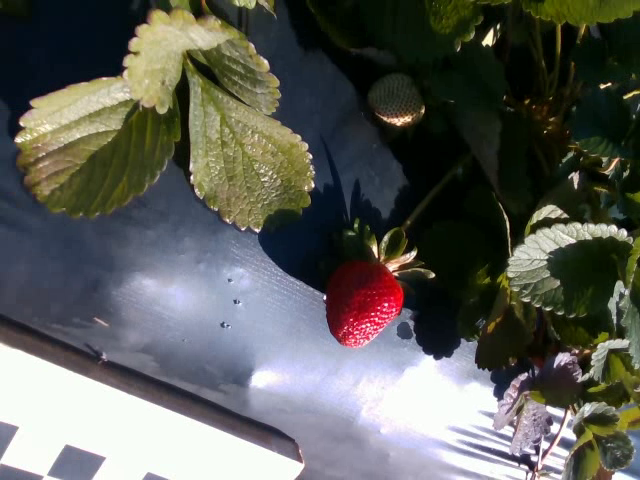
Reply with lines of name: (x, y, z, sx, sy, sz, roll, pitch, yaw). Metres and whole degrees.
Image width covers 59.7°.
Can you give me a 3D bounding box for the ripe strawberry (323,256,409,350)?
ripe strawberry: (0.016, 0.033, 0.263, 0.043, 0.043, 0.050, 3, 37, 34)
